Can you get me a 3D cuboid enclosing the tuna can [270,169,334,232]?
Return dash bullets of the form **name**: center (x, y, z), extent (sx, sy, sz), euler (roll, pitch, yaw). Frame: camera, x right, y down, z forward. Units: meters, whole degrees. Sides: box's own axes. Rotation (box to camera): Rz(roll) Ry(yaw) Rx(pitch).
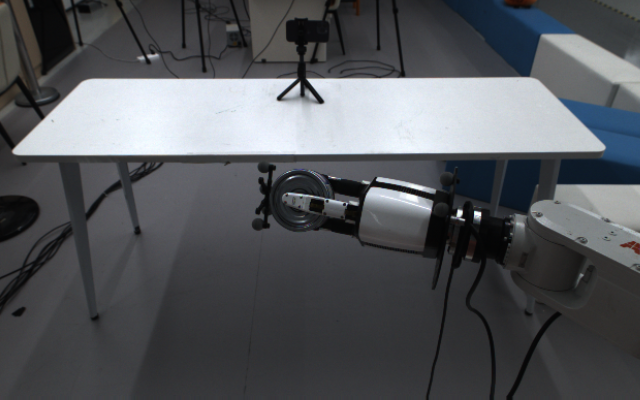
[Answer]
- **tuna can**: center (-0.023, -0.002, 0.656), extent (0.085, 0.085, 0.034), euler (10, 2, 11)
